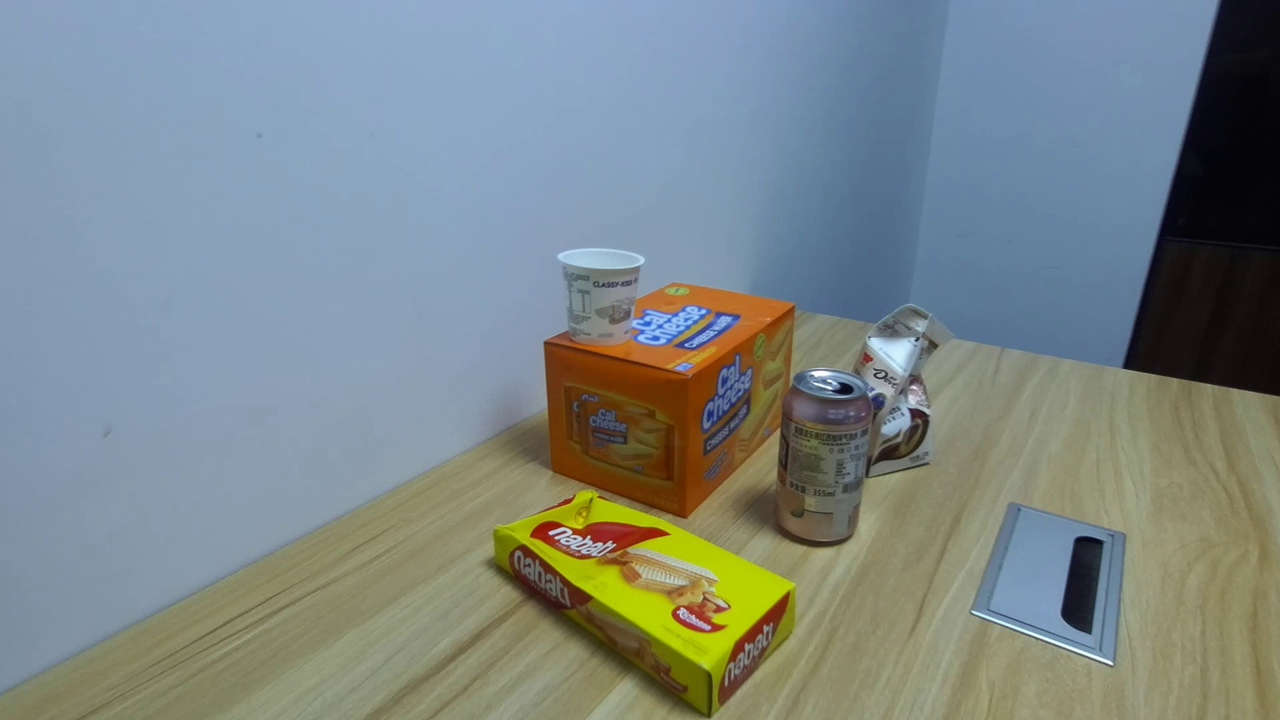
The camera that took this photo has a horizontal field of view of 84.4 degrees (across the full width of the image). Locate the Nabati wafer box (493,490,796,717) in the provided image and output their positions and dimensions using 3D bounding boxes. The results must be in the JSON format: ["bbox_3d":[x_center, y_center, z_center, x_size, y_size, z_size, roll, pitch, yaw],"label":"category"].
[{"bbox_3d":[-0.004,0.145,0.477,0.202,0.042,0.097,19,30,41],"label":"Nabati wafer box"}]

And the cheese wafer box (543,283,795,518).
[{"bbox_3d":[0.036,0.023,0.664,0.147,0.129,0.222,14,26,30],"label":"cheese wafer box"}]

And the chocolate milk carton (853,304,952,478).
[{"bbox_3d":[0.234,0.023,0.644,0.090,0.155,0.076,5,22,-29],"label":"chocolate milk carton"}]

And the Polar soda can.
[{"bbox_3d":[0.139,0.073,0.540,0.067,0.125,0.067,0,20,0],"label":"Polar soda can"}]

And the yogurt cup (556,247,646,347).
[{"bbox_3d":[-0.033,-0.052,0.590,0.072,0.068,0.072,2,21,-1],"label":"yogurt cup"}]
